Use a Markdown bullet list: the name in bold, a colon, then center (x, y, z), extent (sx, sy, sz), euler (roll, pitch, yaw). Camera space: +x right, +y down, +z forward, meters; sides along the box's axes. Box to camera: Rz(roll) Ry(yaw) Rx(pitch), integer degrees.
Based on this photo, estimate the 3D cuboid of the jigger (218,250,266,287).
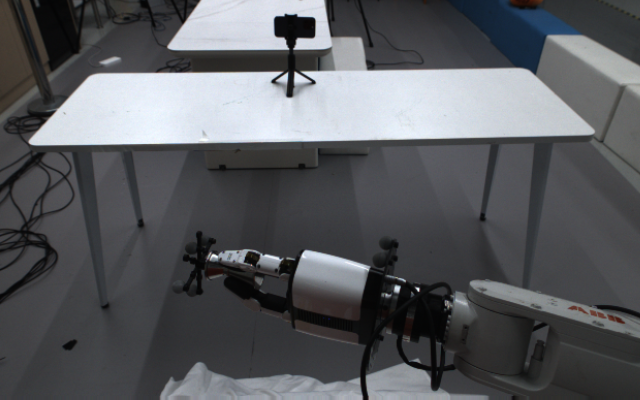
- **jigger**: center (-0.102, 0.085, 0.624), extent (0.071, 0.043, 0.043), euler (6, 35, 12)
